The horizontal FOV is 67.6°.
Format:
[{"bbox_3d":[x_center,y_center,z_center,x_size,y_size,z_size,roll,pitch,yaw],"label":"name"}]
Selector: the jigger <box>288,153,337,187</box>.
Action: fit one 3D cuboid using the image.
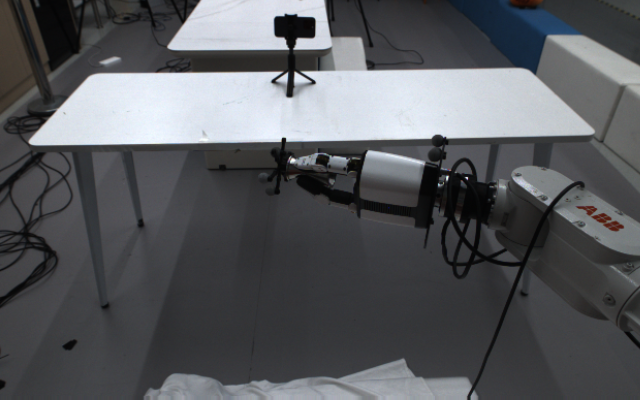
[{"bbox_3d":[-0.007,-0.048,0.730,0.071,0.043,0.043,9,35,16],"label":"jigger"}]
